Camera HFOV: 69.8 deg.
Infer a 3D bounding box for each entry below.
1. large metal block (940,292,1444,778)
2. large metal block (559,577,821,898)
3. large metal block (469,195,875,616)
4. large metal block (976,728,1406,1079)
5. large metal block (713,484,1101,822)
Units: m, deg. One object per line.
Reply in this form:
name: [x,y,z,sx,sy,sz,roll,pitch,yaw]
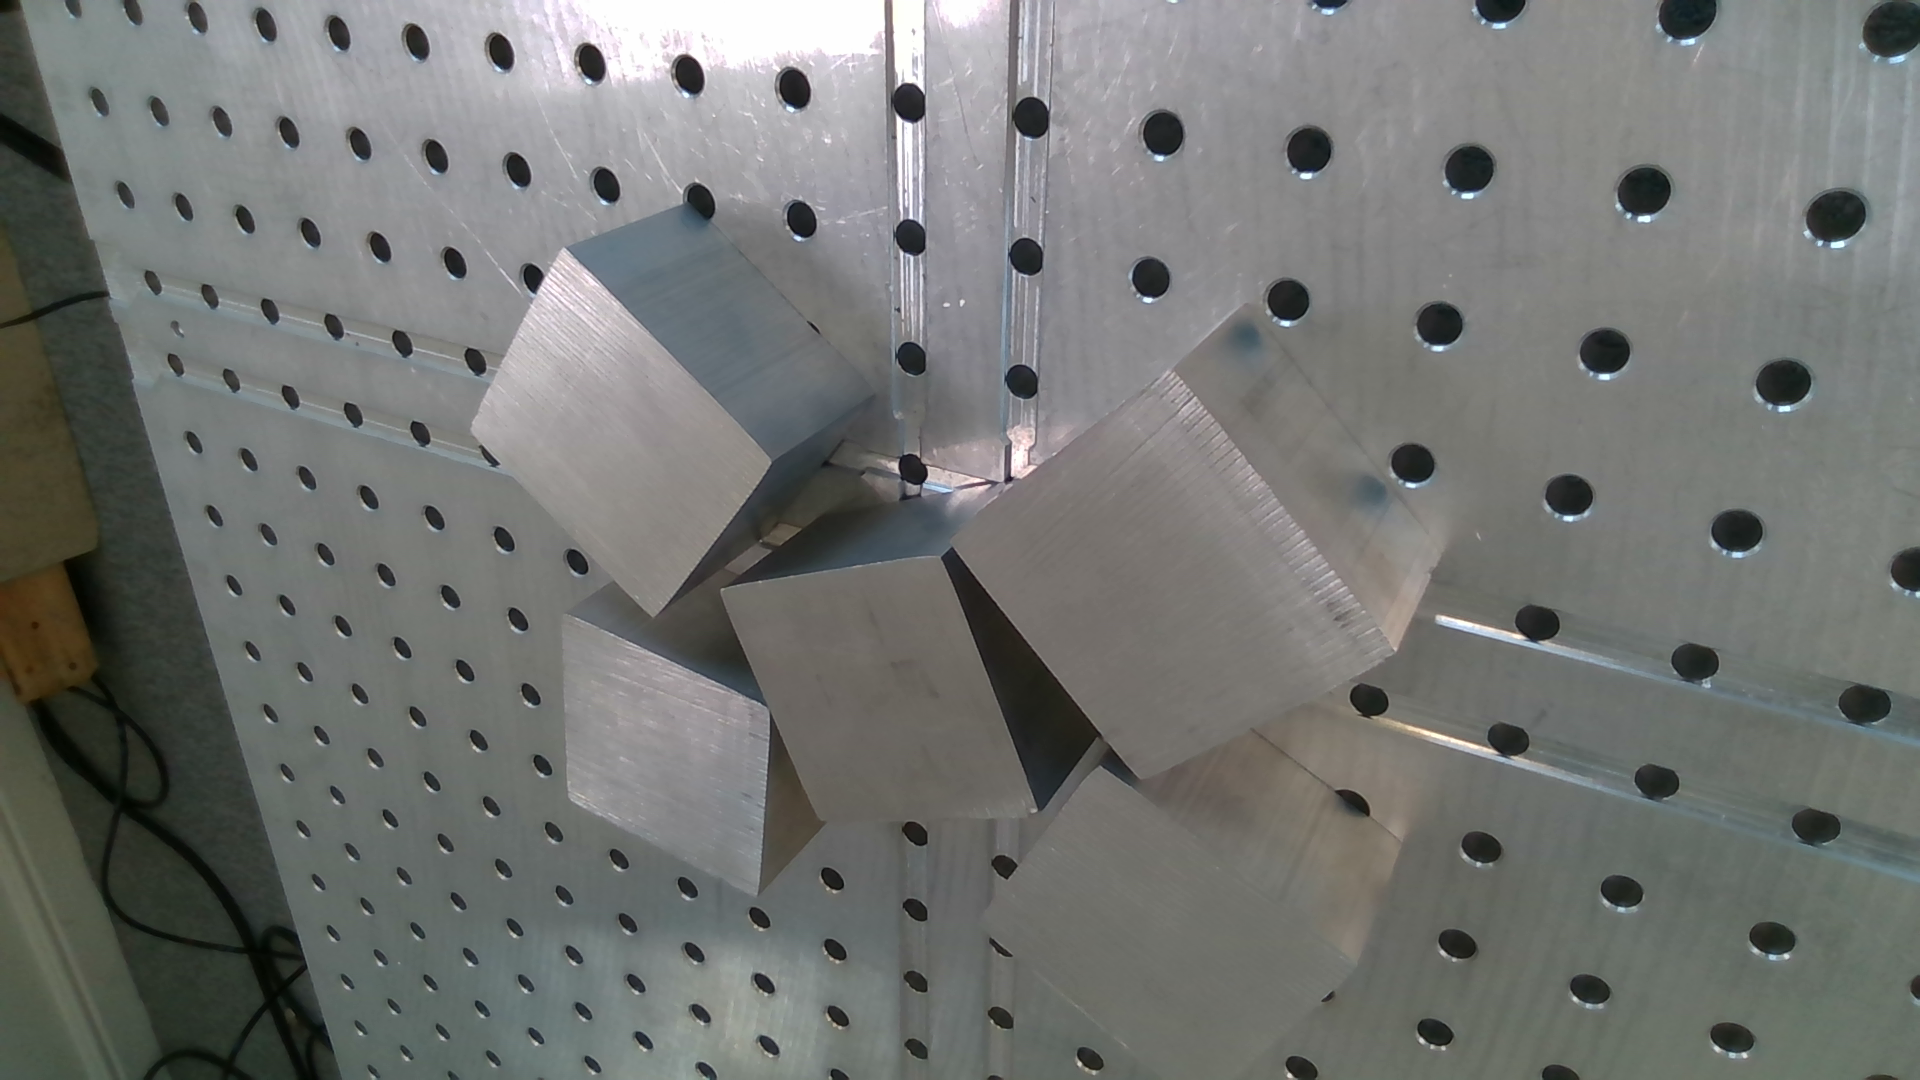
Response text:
large metal block: [0.057,0.000,0.340,0.080,0.050,0.080,-36,93,39]
large metal block: [-0.084,0.058,0.459,0.080,0.050,0.080,22,125,20]
large metal block: [-0.086,-0.039,0.405,0.080,0.050,0.080,45,129,2]
large metal block: [0.063,0.097,0.388,0.080,0.050,0.080,36,131,10]
large metal block: [-0.013,0.034,0.400,0.080,0.050,0.080,-9,110,35]
